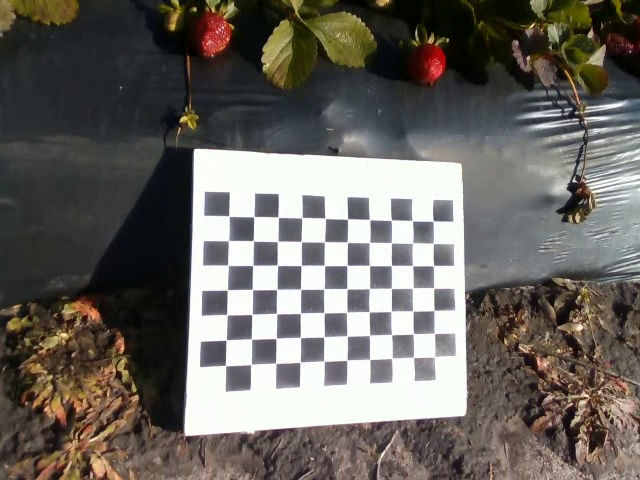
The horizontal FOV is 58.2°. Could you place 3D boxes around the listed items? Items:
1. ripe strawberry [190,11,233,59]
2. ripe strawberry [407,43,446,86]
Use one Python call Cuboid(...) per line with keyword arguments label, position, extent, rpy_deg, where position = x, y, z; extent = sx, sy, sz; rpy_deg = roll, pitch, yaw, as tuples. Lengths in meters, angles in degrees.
Cuboid(label="ripe strawberry", position=(-0.101, -0.184, 0.498), extent=(0.042, 0.043, 0.053), rpy_deg=(13, 39, -18))
Cuboid(label="ripe strawberry", position=(0.100, -0.169, 0.544), extent=(0.042, 0.043, 0.050), rpy_deg=(37, 29, -13))
